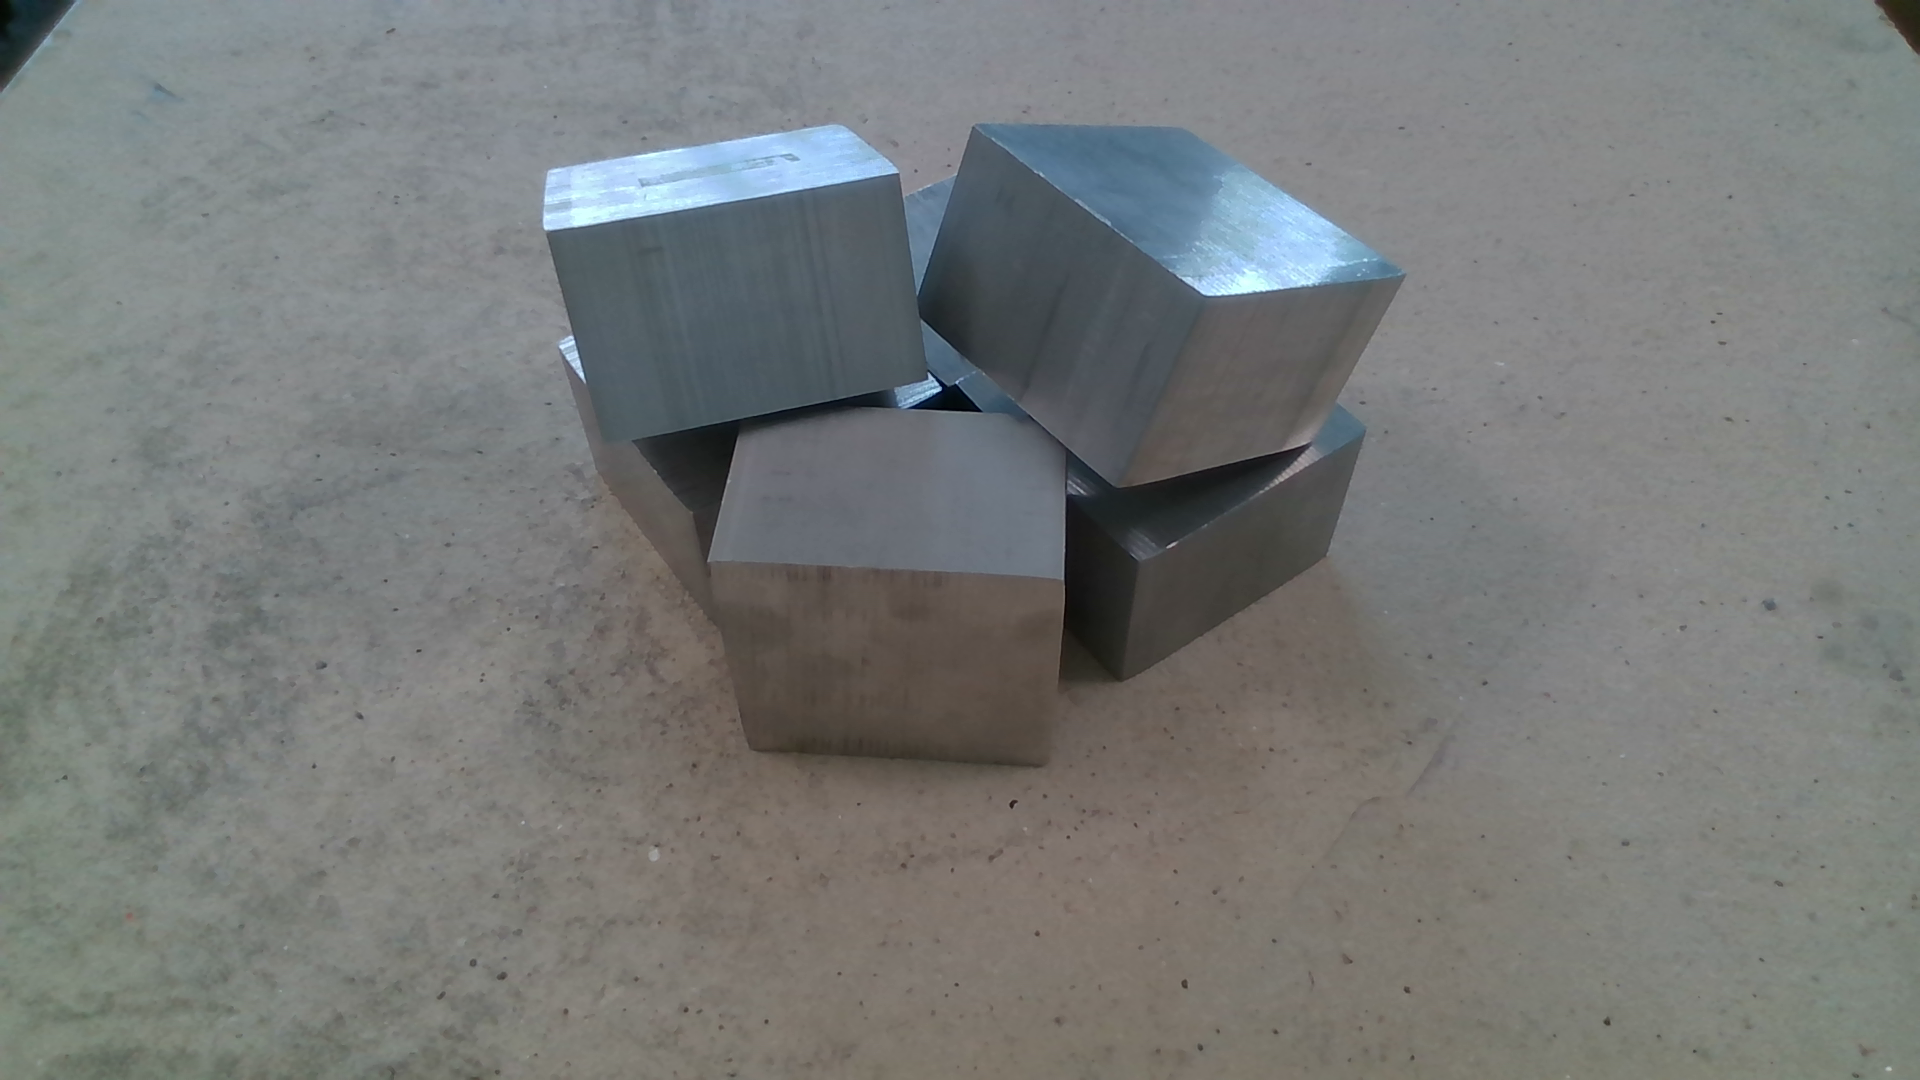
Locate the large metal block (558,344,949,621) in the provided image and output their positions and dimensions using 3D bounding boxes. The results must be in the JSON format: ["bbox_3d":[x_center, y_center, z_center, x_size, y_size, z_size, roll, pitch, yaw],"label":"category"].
[{"bbox_3d":[-0.059,-0.032,0.406,0.080,0.050,0.080,-29,56,-22],"label":"large metal block"}]

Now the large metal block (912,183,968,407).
[{"bbox_3d":[0.006,-0.068,0.436,0.080,0.050,0.080,-29,56,-22],"label":"large metal block"}]

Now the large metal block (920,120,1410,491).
[{"bbox_3d":[0.048,-0.062,0.343,0.080,0.050,0.080,-14,48,-41],"label":"large metal block"}]

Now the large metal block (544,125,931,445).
[{"bbox_3d":[-0.059,-0.069,0.351,0.080,0.050,0.080,-13,27,-10],"label":"large metal block"}]

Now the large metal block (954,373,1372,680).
[{"bbox_3d":[0.054,-0.021,0.393,0.080,0.050,0.080,-29,57,-22],"label":"large metal block"}]

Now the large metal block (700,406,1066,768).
[{"bbox_3d":[-0.015,0.013,0.348,0.080,0.080,0.050,2,50,2],"label":"large metal block"}]
